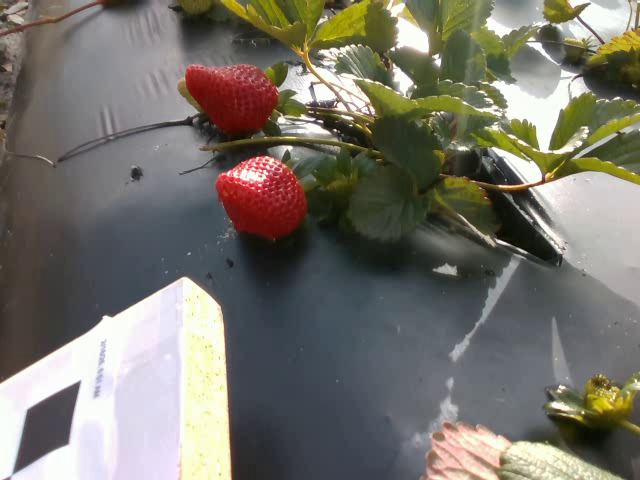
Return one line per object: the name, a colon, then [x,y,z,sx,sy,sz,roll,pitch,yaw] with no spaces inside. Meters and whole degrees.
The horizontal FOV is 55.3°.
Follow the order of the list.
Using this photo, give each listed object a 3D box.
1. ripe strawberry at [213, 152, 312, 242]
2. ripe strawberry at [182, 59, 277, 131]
ripe strawberry: [-0.022,-0.018,0.195,0.037,0.034,0.039,-31,-33,31]
ripe strawberry: [-0.036,-0.064,0.246,0.036,0.041,0.035,20,19,-28]
